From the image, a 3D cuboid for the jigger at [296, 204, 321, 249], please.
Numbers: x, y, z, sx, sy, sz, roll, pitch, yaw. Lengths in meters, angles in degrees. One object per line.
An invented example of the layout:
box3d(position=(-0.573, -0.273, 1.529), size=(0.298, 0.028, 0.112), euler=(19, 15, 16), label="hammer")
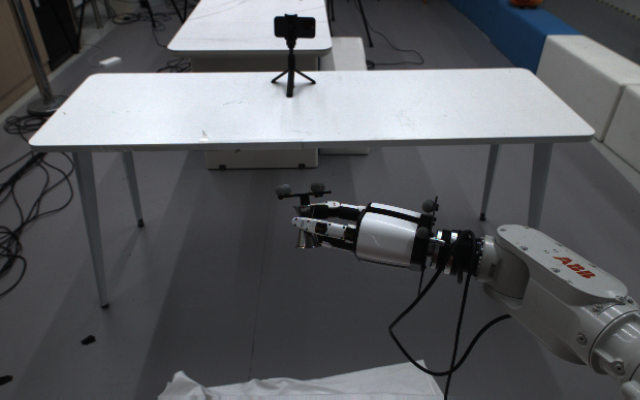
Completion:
box3d(position=(-0.022, 0.041, 0.781), size=(0.043, 0.071, 0.043), euler=(-4, 1, 0), label="jigger")
